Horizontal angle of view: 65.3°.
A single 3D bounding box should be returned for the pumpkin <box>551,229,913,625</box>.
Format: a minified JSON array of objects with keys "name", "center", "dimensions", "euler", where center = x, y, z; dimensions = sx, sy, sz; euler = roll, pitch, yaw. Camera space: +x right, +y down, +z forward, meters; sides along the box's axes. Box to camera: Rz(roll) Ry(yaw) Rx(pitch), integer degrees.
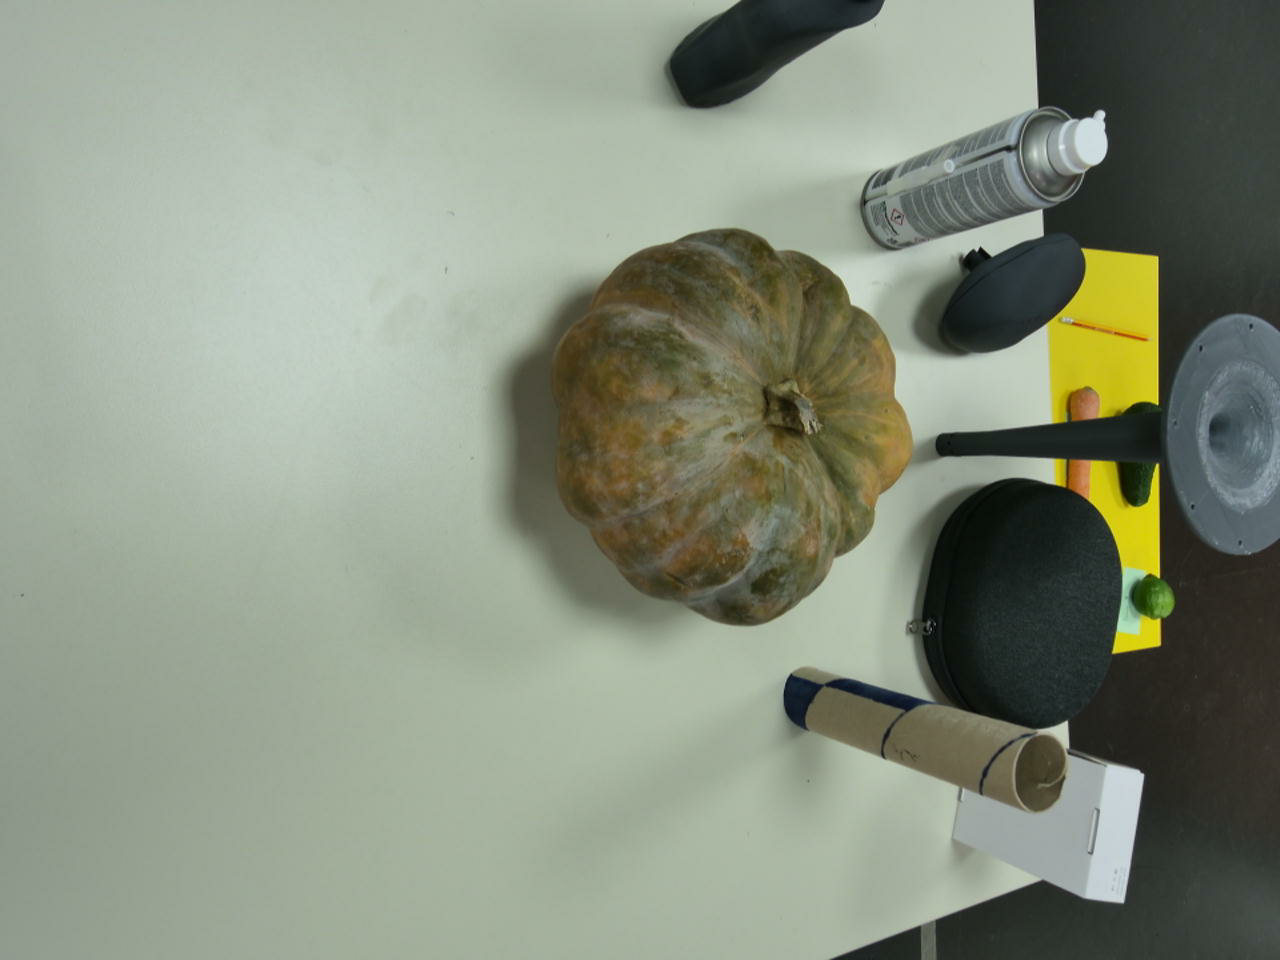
[{"name":"pumpkin","center":[0.059,-0.039,0.651],"dimensions":[0.252,0.169,0.252],"euler":[0,91,-28]}]
